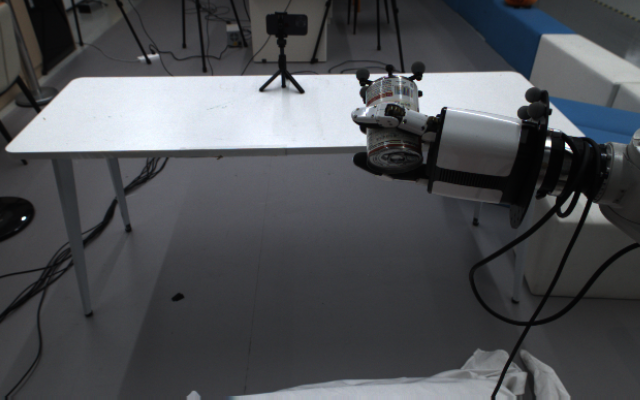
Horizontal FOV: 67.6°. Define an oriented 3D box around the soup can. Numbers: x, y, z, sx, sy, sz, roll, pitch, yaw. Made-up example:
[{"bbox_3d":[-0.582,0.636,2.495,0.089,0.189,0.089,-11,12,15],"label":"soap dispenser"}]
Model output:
[{"bbox_3d":[0.091,-0.092,0.595,0.067,0.067,0.101,2,68,-1],"label":"soup can"}]
